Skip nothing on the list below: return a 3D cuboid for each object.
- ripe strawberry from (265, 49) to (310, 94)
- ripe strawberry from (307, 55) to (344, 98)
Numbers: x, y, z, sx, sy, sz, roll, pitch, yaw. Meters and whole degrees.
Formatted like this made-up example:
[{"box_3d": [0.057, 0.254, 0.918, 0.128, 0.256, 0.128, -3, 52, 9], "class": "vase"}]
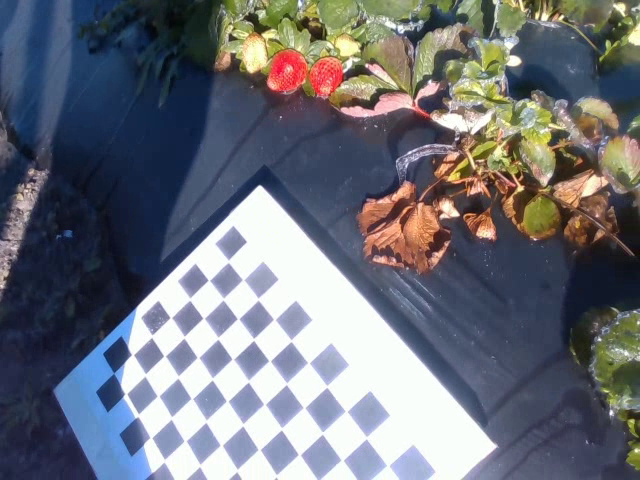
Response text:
[{"box_3d": [-0.033, -0.147, 0.546, 0.036, 0.040, 0.052, 5, 39, 24], "class": "ripe strawberry"}, {"box_3d": [0.007, -0.147, 0.549, 0.036, 0.041, 0.030, -20, -28, 16], "class": "ripe strawberry"}]
